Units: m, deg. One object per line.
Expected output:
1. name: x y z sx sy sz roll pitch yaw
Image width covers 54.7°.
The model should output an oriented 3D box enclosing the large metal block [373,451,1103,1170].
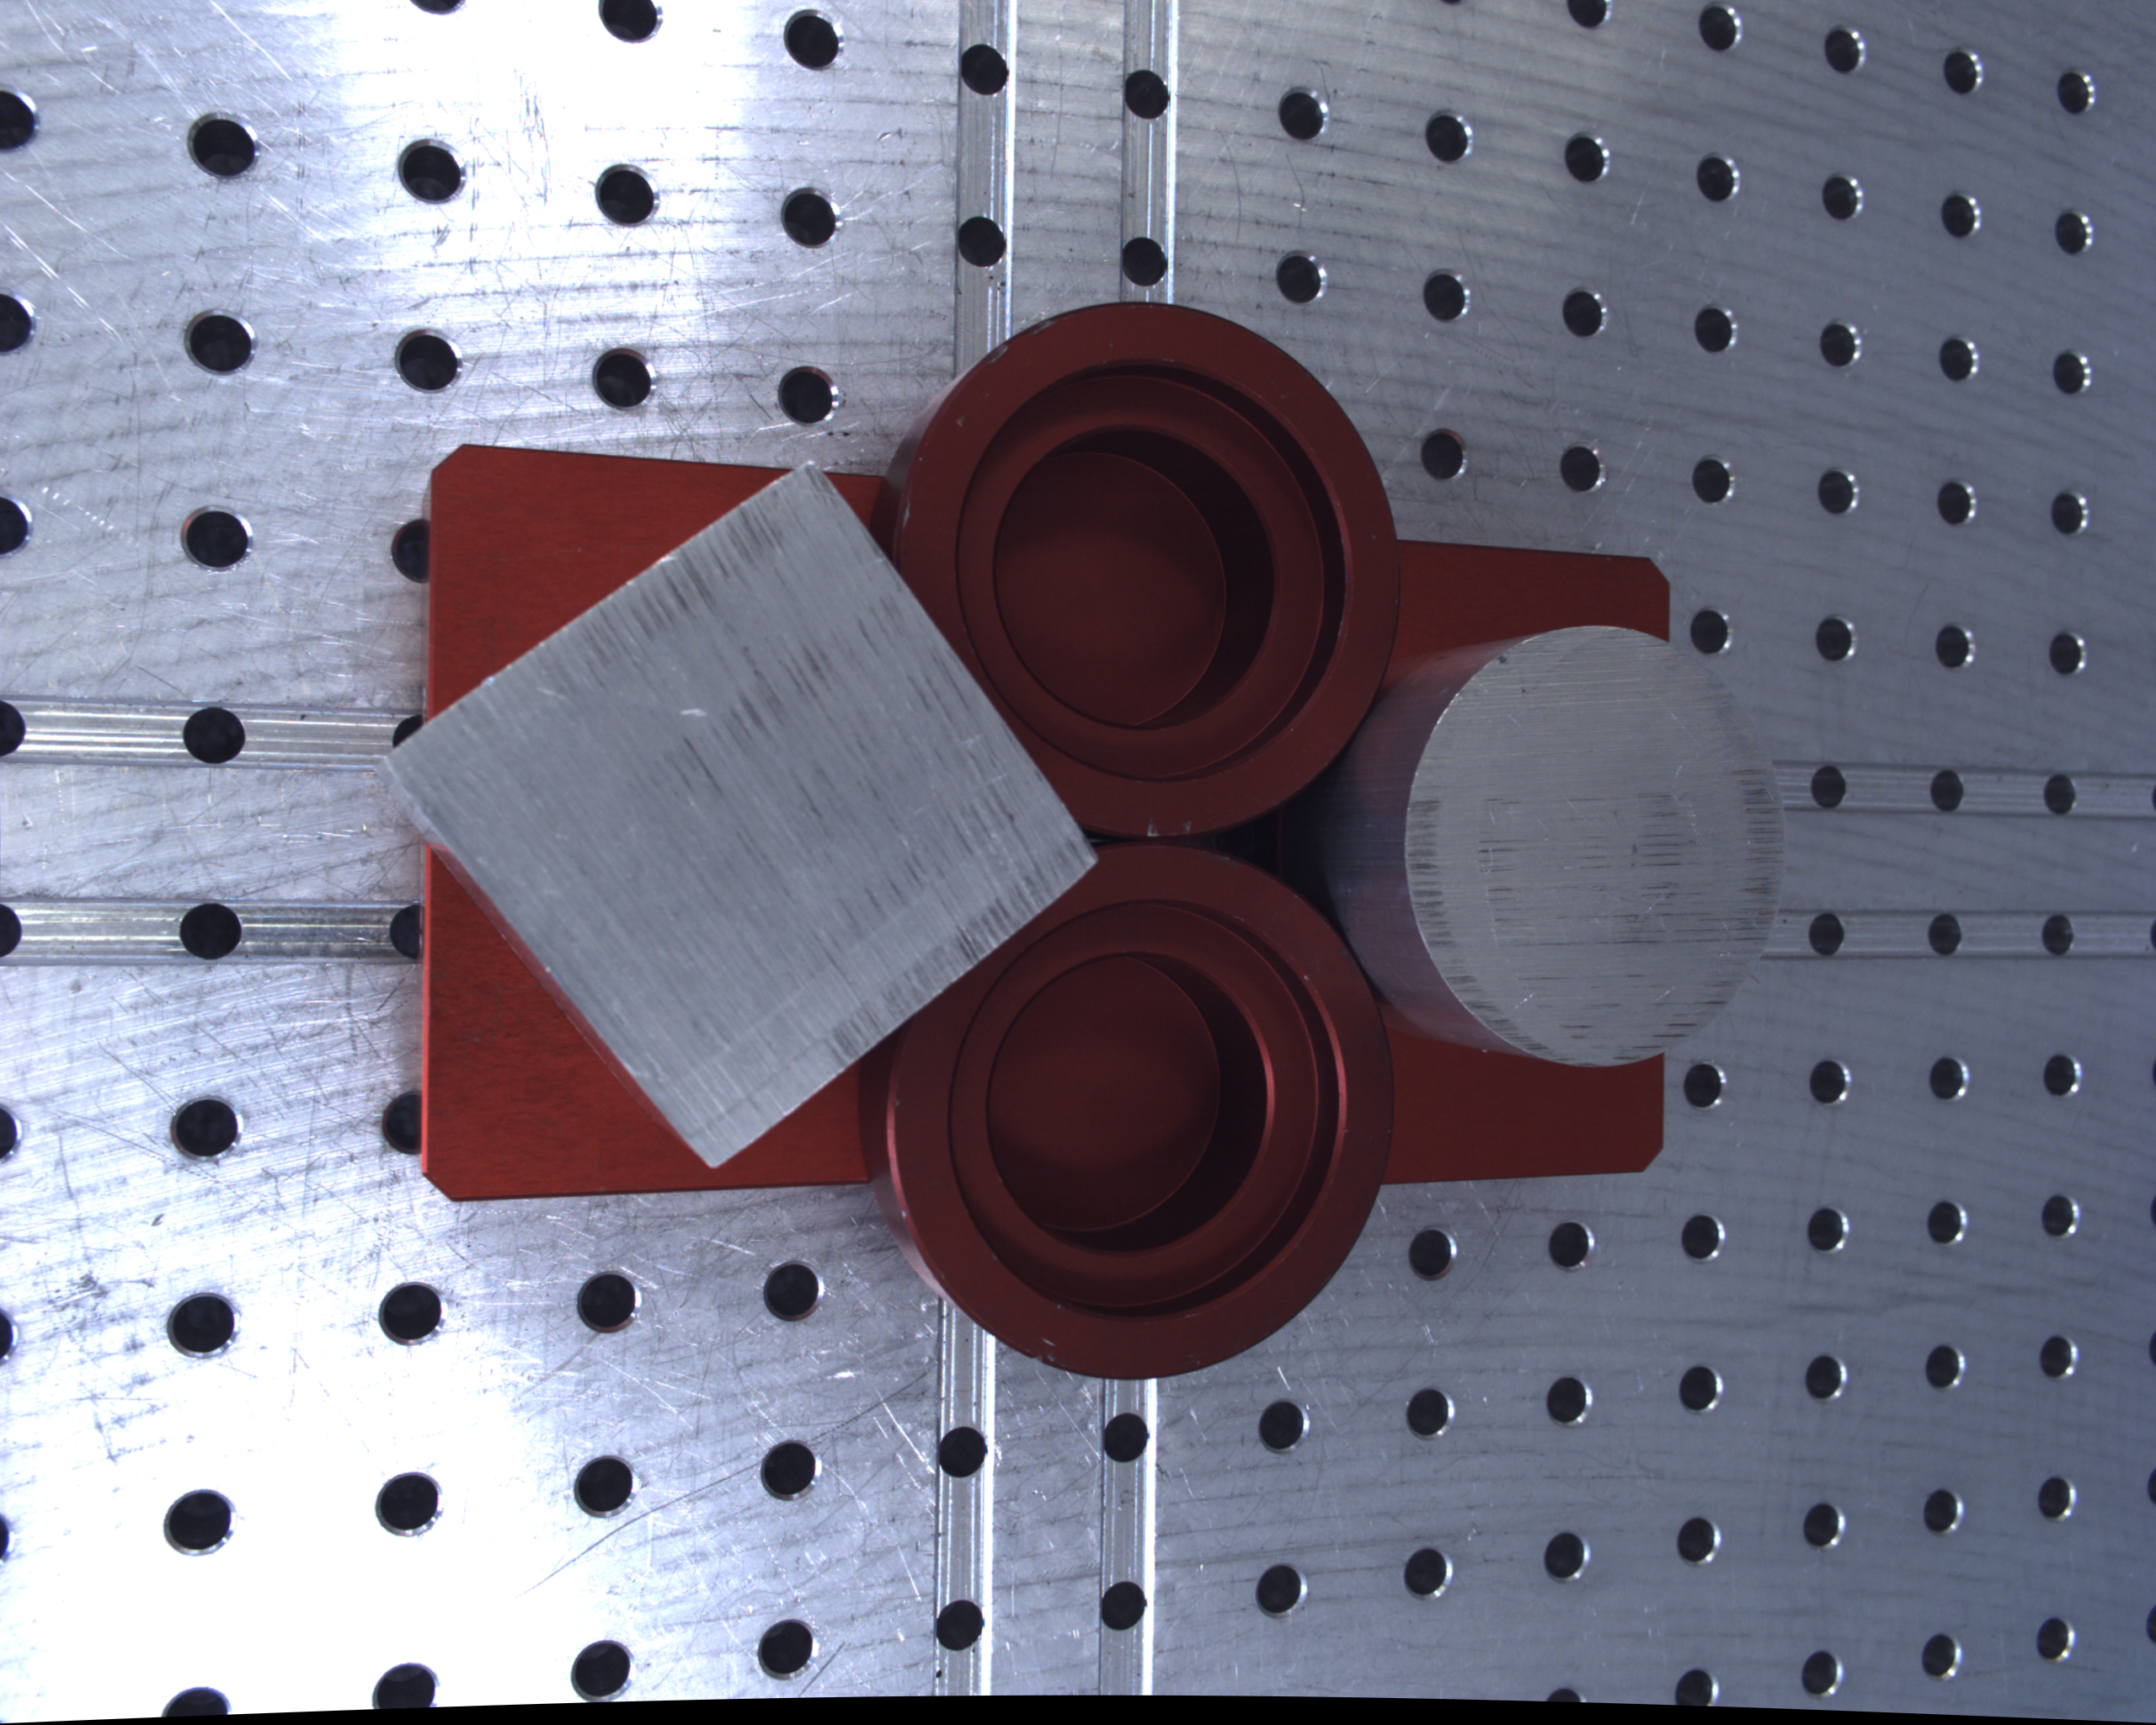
1. large metal block: -0.057 -0.009 0.346 0.080 0.050 0.080 -38 103 -16

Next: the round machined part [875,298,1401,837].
1. round machined part: 0.008 -0.053 0.397 0.099 0.042 0.097 0 90 -20

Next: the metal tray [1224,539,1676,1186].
1. metal tray: 0.078 0.000 0.436 0.091 0.030 0.129 1 90 -20

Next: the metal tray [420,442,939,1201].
1. metal tray: -0.073 -0.007 0.383 0.091 0.030 0.129 1 90 -21

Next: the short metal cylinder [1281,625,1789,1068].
1. short metal cylinder: 0.086 -0.003 0.398 0.081 0.050 0.079 0 90 -20

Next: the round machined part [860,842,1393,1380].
1. round machined part: 0.006 0.045 0.396 0.099 0.042 0.097 0 90 -20
